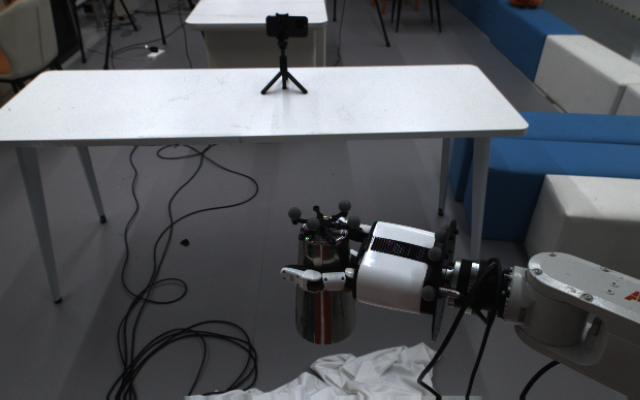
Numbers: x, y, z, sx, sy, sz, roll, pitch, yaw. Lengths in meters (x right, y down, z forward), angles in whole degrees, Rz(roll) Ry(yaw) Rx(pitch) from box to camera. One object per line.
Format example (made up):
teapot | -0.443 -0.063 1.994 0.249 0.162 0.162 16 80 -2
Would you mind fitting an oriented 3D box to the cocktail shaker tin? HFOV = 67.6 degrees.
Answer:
cocktail shaker tin | 0.010 0.109 0.687 0.093 0.170 0.093 -1 32 1
